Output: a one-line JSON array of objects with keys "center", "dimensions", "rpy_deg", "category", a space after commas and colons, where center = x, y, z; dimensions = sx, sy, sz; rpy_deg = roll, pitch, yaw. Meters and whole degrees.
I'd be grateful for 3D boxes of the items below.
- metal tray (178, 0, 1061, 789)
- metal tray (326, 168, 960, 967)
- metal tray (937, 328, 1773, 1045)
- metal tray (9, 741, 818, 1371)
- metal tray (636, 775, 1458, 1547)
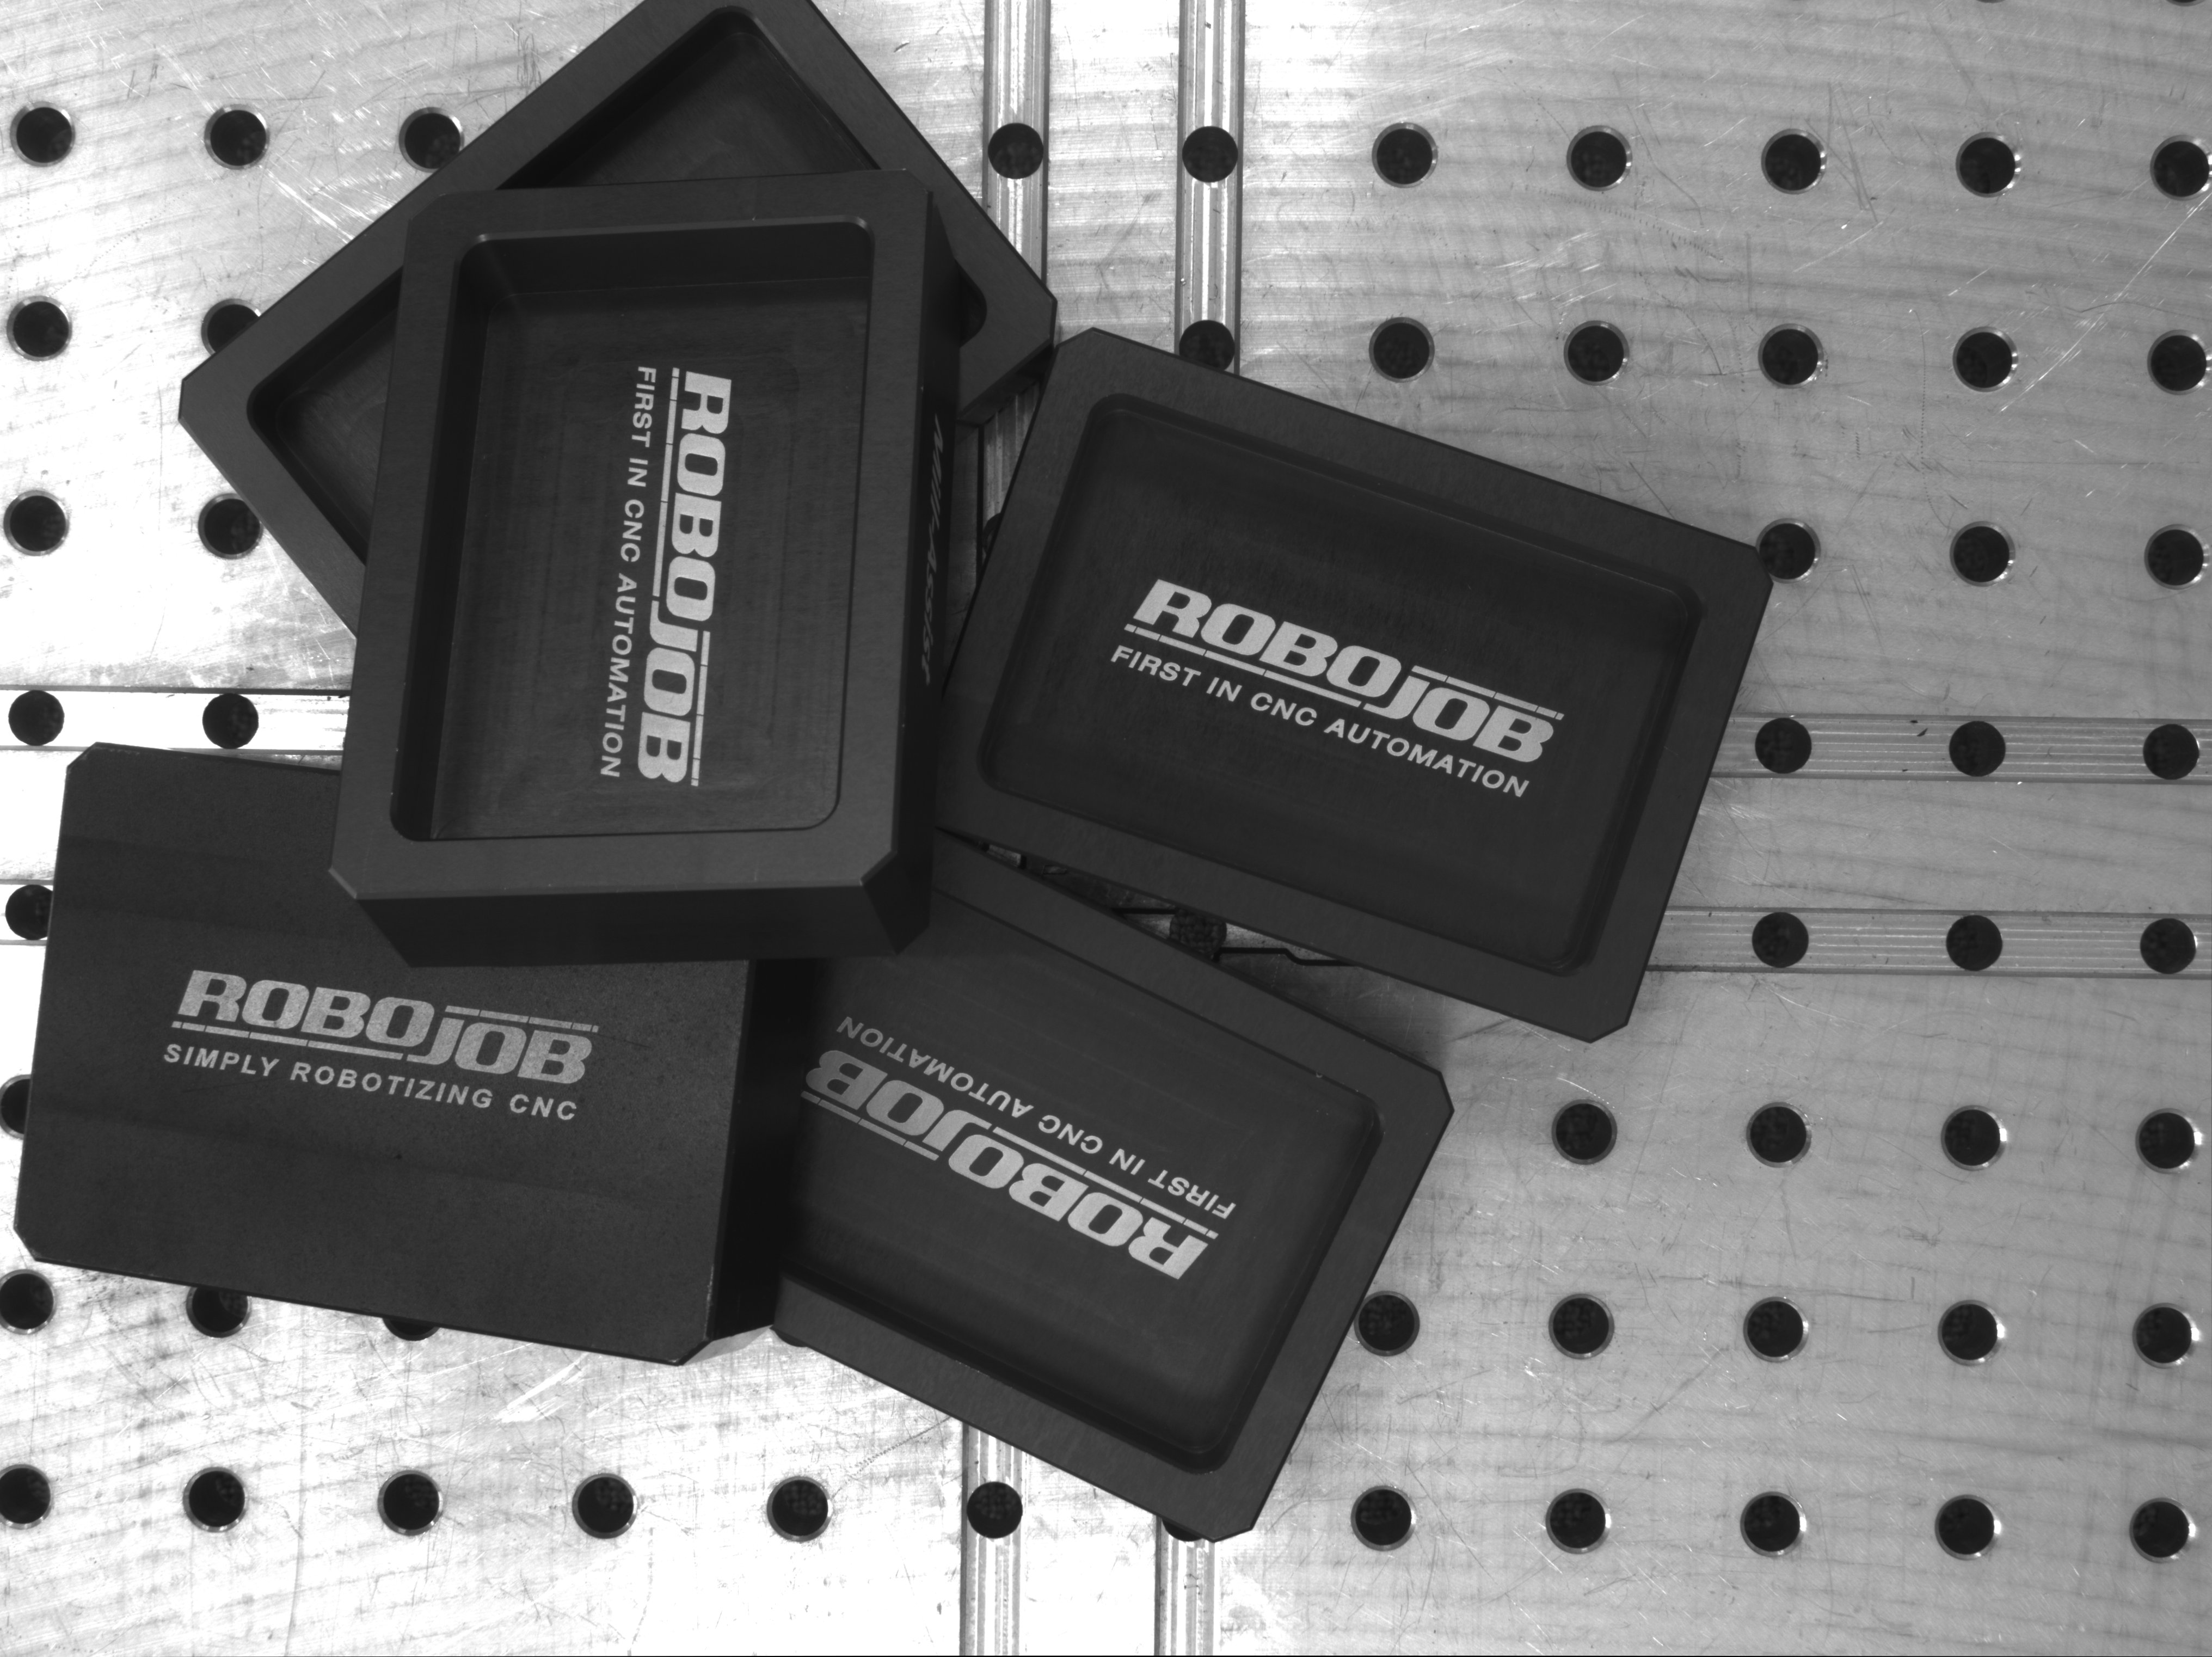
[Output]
[{"center": [-0.084, -0.080, 0.645], "dimensions": [0.130, 0.030, 0.090], "rpy_deg": [-40, 89, 0], "category": "metal tray"}, {"center": [-0.073, -0.044, 0.603], "dimensions": [0.090, 0.030, 0.130], "rpy_deg": [-2, 66, 7], "category": "metal tray"}, {"center": [0.040, -0.024, 0.645], "dimensions": [0.130, 0.030, 0.090], "rpy_deg": [18, 91, 0], "category": "metal tray"}, {"center": [-0.118, 0.037, 0.629], "dimensions": [0.130, 0.030, 0.090], "rpy_deg": [7, 91, 14], "category": "metal tray"}, {"center": [-0.015, 0.057, 0.645], "dimensions": [0.130, 0.030, 0.090], "rpy_deg": [25, 90, 0], "category": "metal tray"}]
